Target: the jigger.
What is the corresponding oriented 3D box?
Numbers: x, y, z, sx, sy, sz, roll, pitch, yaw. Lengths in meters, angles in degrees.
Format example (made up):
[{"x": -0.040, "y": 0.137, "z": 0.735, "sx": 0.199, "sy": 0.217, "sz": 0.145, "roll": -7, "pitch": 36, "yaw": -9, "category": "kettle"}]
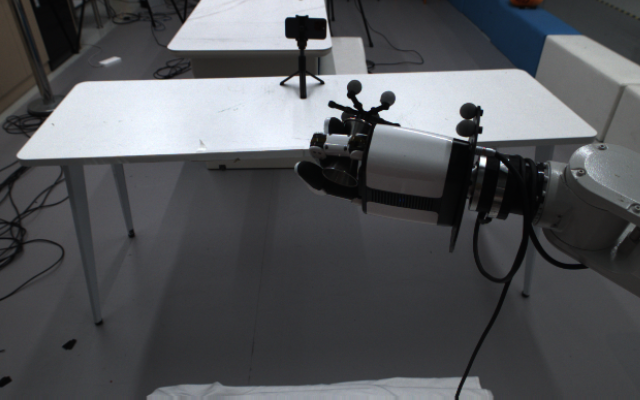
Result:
[{"x": 0.032, "y": -0.059, "z": 0.555, "sx": 0.043, "sy": 0.043, "sz": 0.071, "roll": 16, "pitch": 70, "yaw": 19, "category": "jigger"}]
